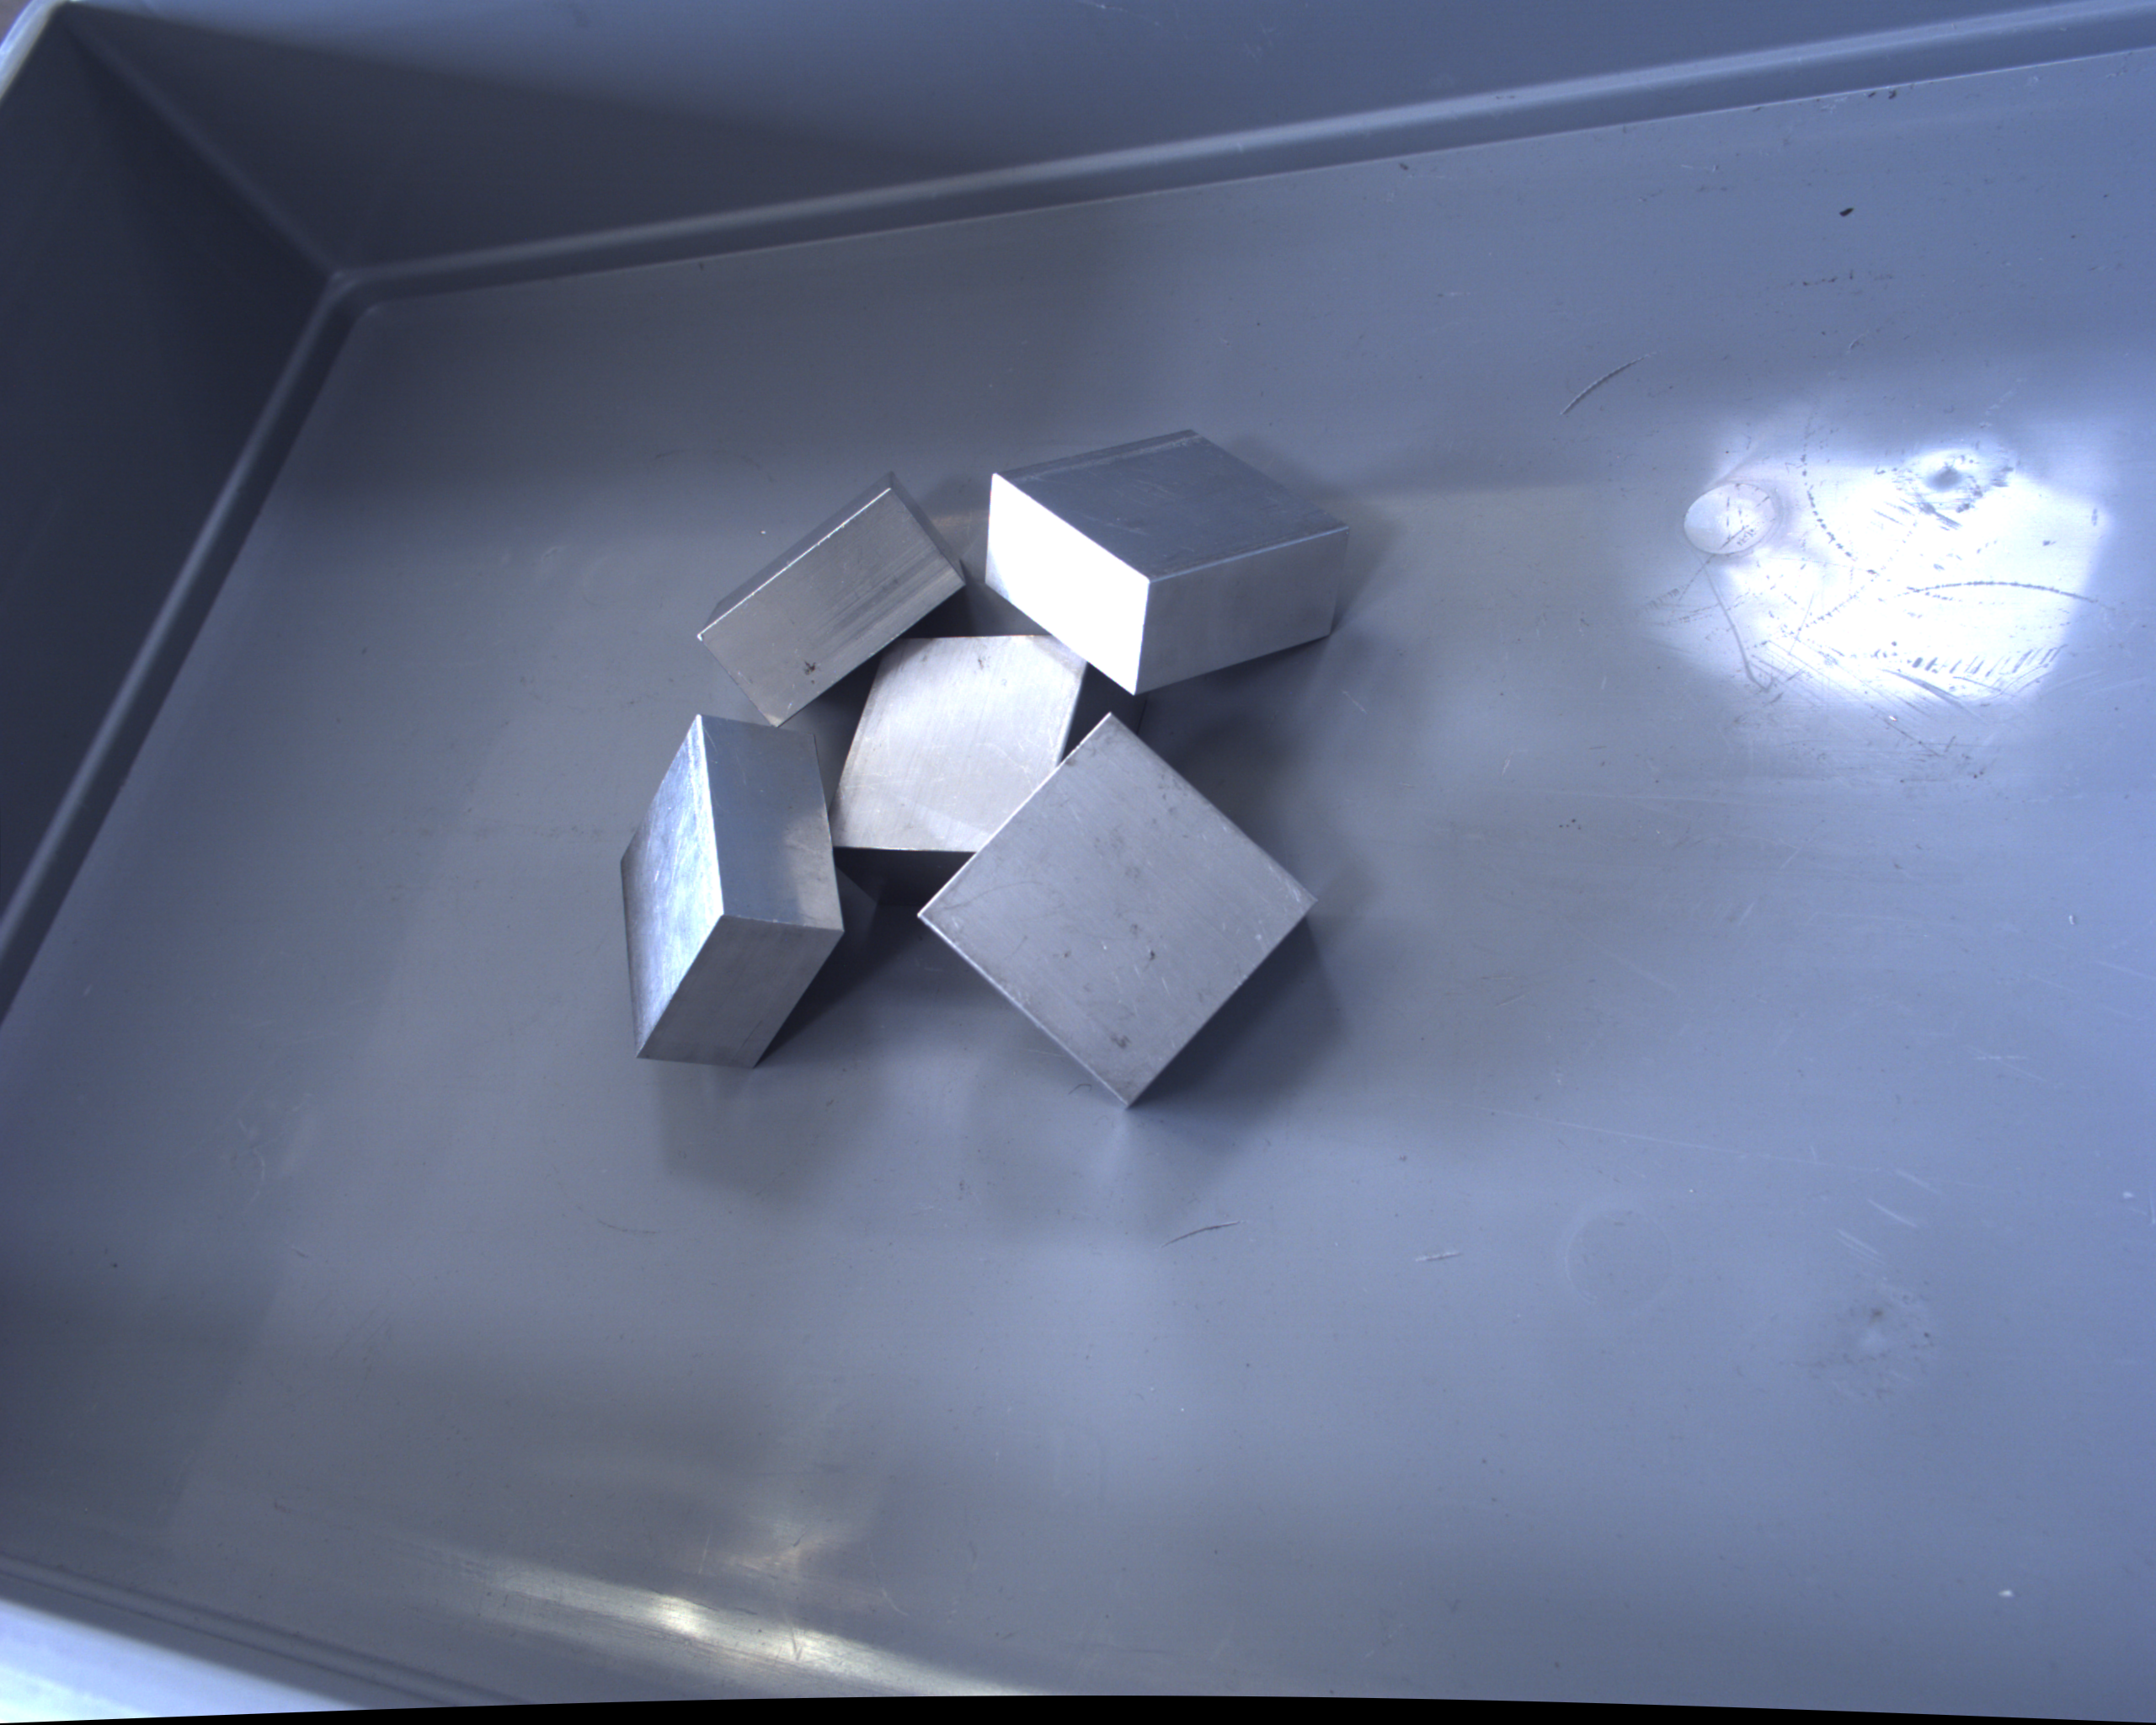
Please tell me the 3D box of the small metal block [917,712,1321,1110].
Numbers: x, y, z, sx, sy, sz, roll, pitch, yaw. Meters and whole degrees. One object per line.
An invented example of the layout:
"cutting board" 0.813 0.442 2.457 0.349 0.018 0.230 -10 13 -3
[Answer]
"small metal block" 0.007 0.010 0.379 0.050 0.025 0.050 42 84 4

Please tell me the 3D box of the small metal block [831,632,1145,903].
"small metal block" -0.019 -0.019 0.424 0.050 0.025 0.050 2 62 29

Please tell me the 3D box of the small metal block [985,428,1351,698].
"small metal block" 0.017 -0.061 0.416 0.050 0.025 0.050 -20 43 -32

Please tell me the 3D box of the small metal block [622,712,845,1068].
"small metal block" -0.071 0.006 0.422 0.050 0.025 0.050 -53 39 42

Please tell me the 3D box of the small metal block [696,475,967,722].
"small metal block" -0.052 -0.058 0.450 0.050 0.025 0.050 -37 14 4
